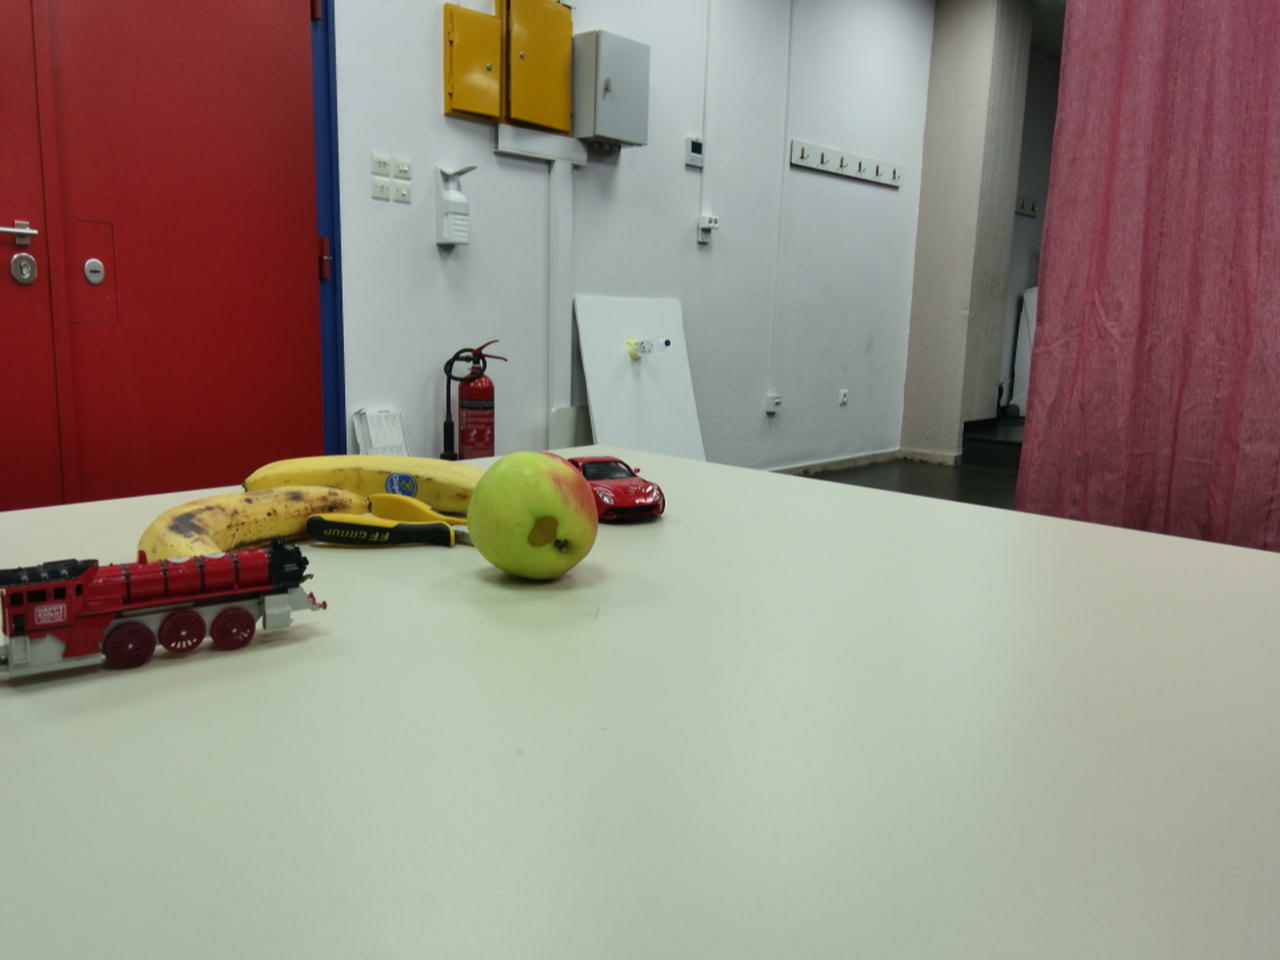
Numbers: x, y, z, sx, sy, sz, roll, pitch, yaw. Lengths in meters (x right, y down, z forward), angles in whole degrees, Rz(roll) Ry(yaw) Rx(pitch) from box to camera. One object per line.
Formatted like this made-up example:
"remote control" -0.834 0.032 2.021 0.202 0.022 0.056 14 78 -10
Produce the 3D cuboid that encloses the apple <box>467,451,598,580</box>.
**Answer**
"apple" -0.061 0.019 0.590 0.075 0.074 0.075 4 9 23
